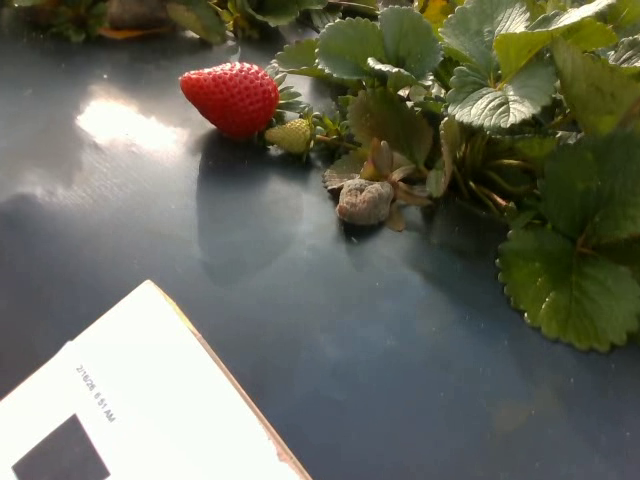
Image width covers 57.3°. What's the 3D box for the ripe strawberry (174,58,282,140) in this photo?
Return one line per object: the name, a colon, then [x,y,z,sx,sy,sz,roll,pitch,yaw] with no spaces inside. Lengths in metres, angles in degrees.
ripe strawberry: [-0.048,-0.073,0.292,0.057,0.051,0.046,-3,42,-48]
